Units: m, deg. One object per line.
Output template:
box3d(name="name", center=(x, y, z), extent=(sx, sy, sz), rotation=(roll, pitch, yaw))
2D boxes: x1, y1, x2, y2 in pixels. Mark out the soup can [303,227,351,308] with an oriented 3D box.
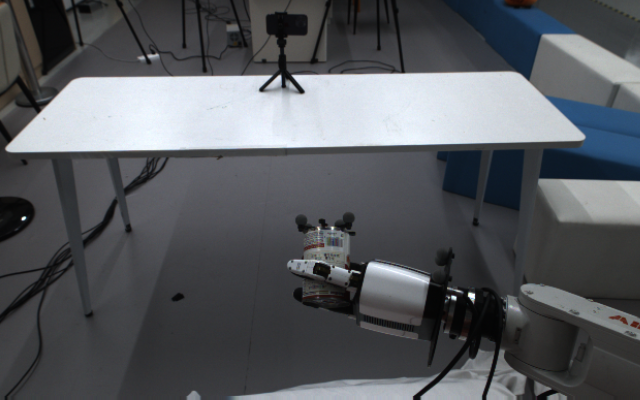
box3d(name="soup can", center=(0.010, 0.096, 0.678), extent=(0.067, 0.067, 0.101), rotation=(1, 69, -1))
